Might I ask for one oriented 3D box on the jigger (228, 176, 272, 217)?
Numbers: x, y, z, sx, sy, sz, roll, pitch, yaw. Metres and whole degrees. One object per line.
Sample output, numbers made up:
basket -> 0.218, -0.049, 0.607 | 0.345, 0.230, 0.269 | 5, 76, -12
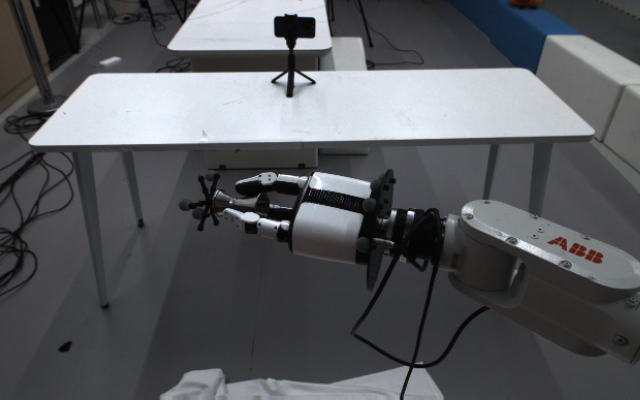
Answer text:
jigger -> -0.102, 0.001, 0.673 | 0.071, 0.043, 0.043 | 5, 34, 19
